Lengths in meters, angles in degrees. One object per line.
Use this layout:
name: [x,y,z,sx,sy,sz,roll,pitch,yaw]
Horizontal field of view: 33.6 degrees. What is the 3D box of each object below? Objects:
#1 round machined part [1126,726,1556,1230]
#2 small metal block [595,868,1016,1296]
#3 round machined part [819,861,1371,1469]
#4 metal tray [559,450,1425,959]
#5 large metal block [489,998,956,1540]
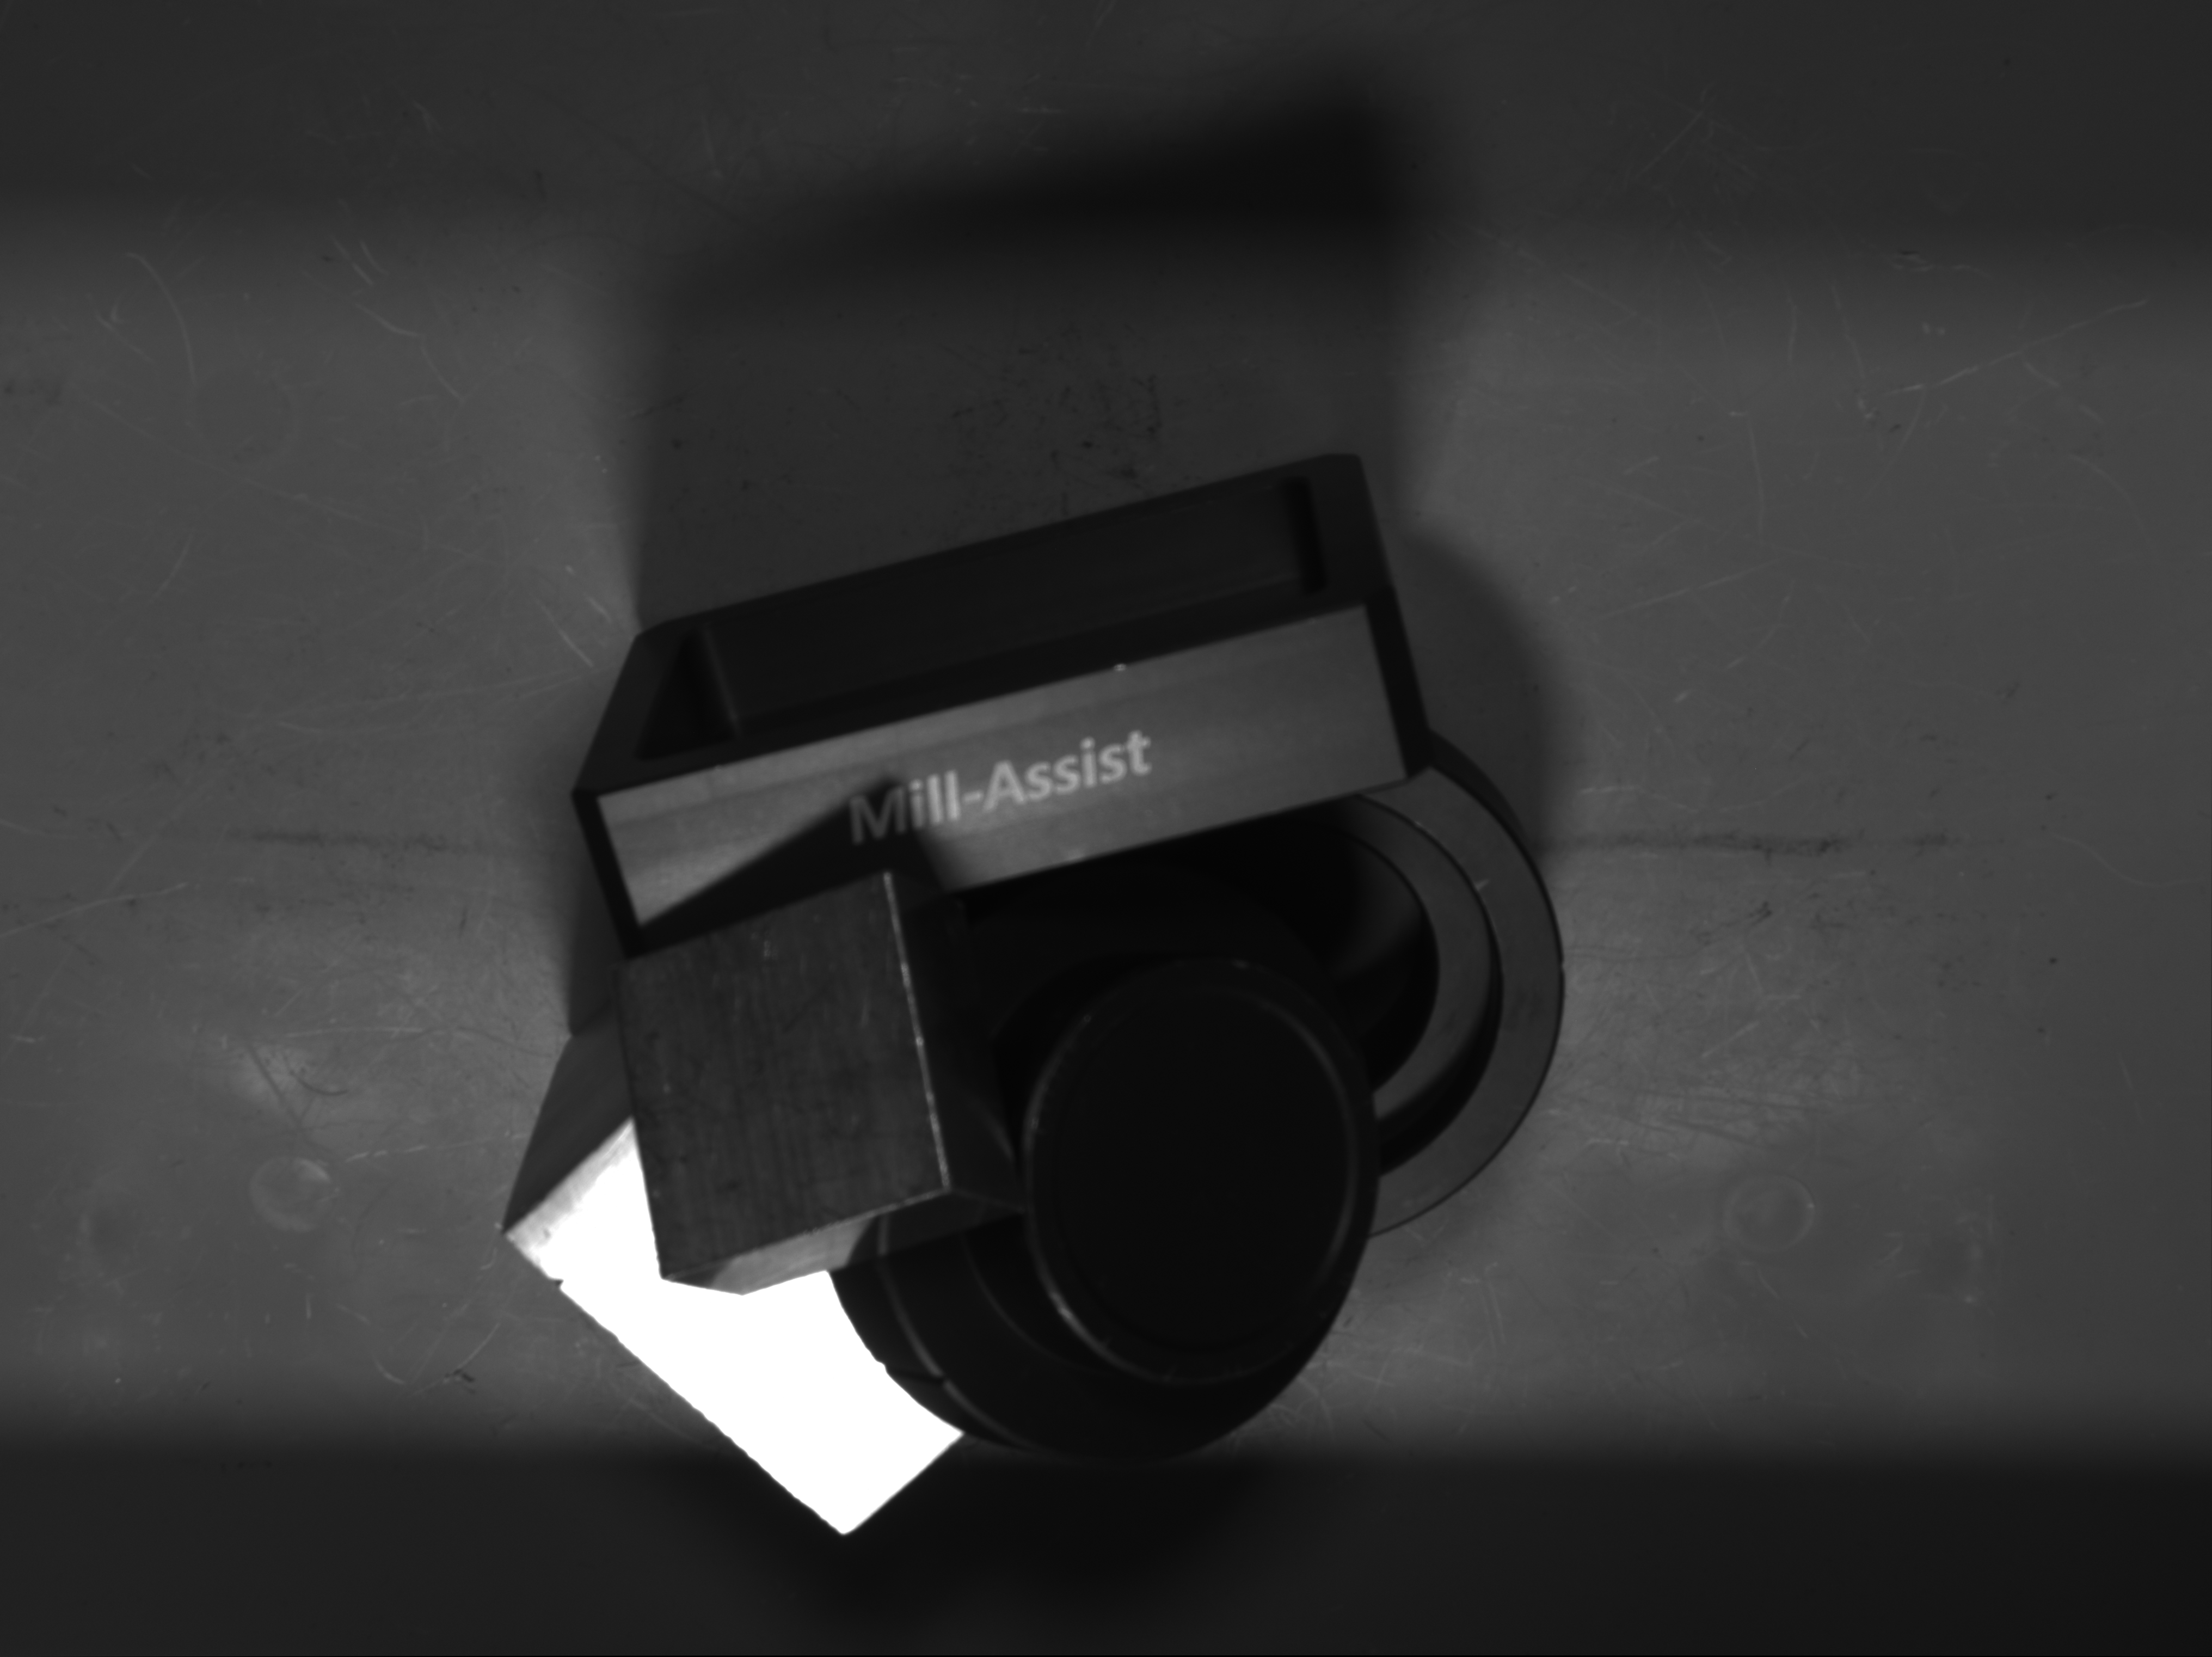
round machined part: [0.028,0.021,0.642,0.098,0.042,0.098,0,110,-1]
small metal block: [-0.046,0.039,0.558,0.050,0.025,0.050,-19,71,20]
round machined part: [0.004,0.054,0.591,0.098,0.042,0.098,1,88,-34]
metal tray: [-0.018,-0.022,0.599,0.130,0.090,0.030,-14,110,4]
large metal block: [-0.054,0.062,0.635,0.050,0.080,0.080,-42,105,13]
